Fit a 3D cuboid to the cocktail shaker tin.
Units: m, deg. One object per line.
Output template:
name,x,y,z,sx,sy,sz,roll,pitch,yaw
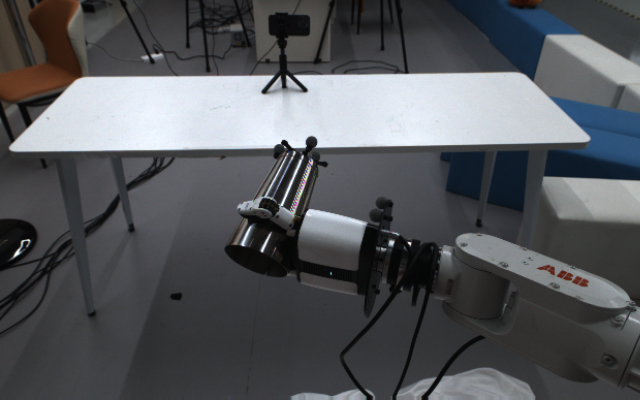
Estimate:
cocktail shaker tin,-0.062,0.015,0.695,0.093,0.093,0.170,14,61,16
